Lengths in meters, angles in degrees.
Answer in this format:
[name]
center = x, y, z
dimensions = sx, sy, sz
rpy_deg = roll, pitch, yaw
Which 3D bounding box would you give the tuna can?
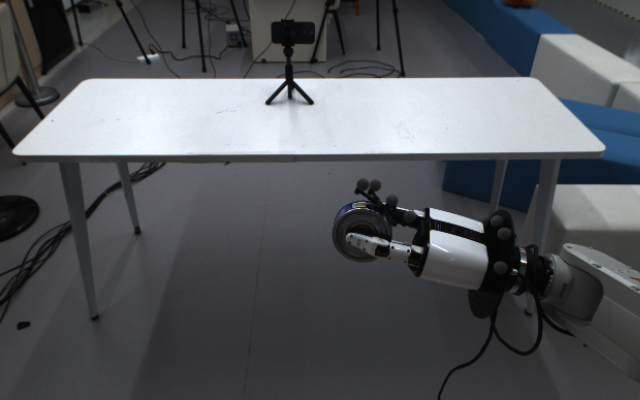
[tuna can]
center = 0.064, 0.052, 0.690
dimensions = 0.085, 0.085, 0.034
rpy_deg = 7, 19, 6
